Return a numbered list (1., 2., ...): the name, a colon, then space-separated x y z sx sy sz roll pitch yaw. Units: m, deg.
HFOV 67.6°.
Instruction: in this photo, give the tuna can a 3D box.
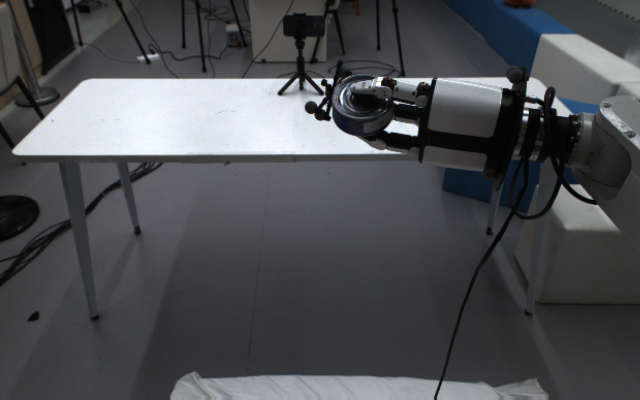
1. tuna can: 0.060 -0.132 0.666 0.085 0.034 0.085 0 62 1
